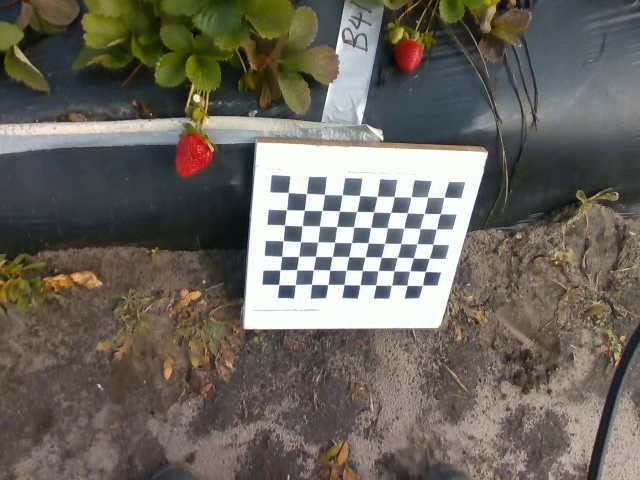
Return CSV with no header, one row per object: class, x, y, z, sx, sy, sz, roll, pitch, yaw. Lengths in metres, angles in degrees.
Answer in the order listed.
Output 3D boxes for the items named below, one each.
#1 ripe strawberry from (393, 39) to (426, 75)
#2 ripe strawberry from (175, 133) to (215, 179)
ripe strawberry,0.102,-0.202,0.709,0.037,0.048,0.031,14,-27,-17
ripe strawberry,-0.137,-0.089,0.679,0.047,0.053,0.030,38,-7,-28
